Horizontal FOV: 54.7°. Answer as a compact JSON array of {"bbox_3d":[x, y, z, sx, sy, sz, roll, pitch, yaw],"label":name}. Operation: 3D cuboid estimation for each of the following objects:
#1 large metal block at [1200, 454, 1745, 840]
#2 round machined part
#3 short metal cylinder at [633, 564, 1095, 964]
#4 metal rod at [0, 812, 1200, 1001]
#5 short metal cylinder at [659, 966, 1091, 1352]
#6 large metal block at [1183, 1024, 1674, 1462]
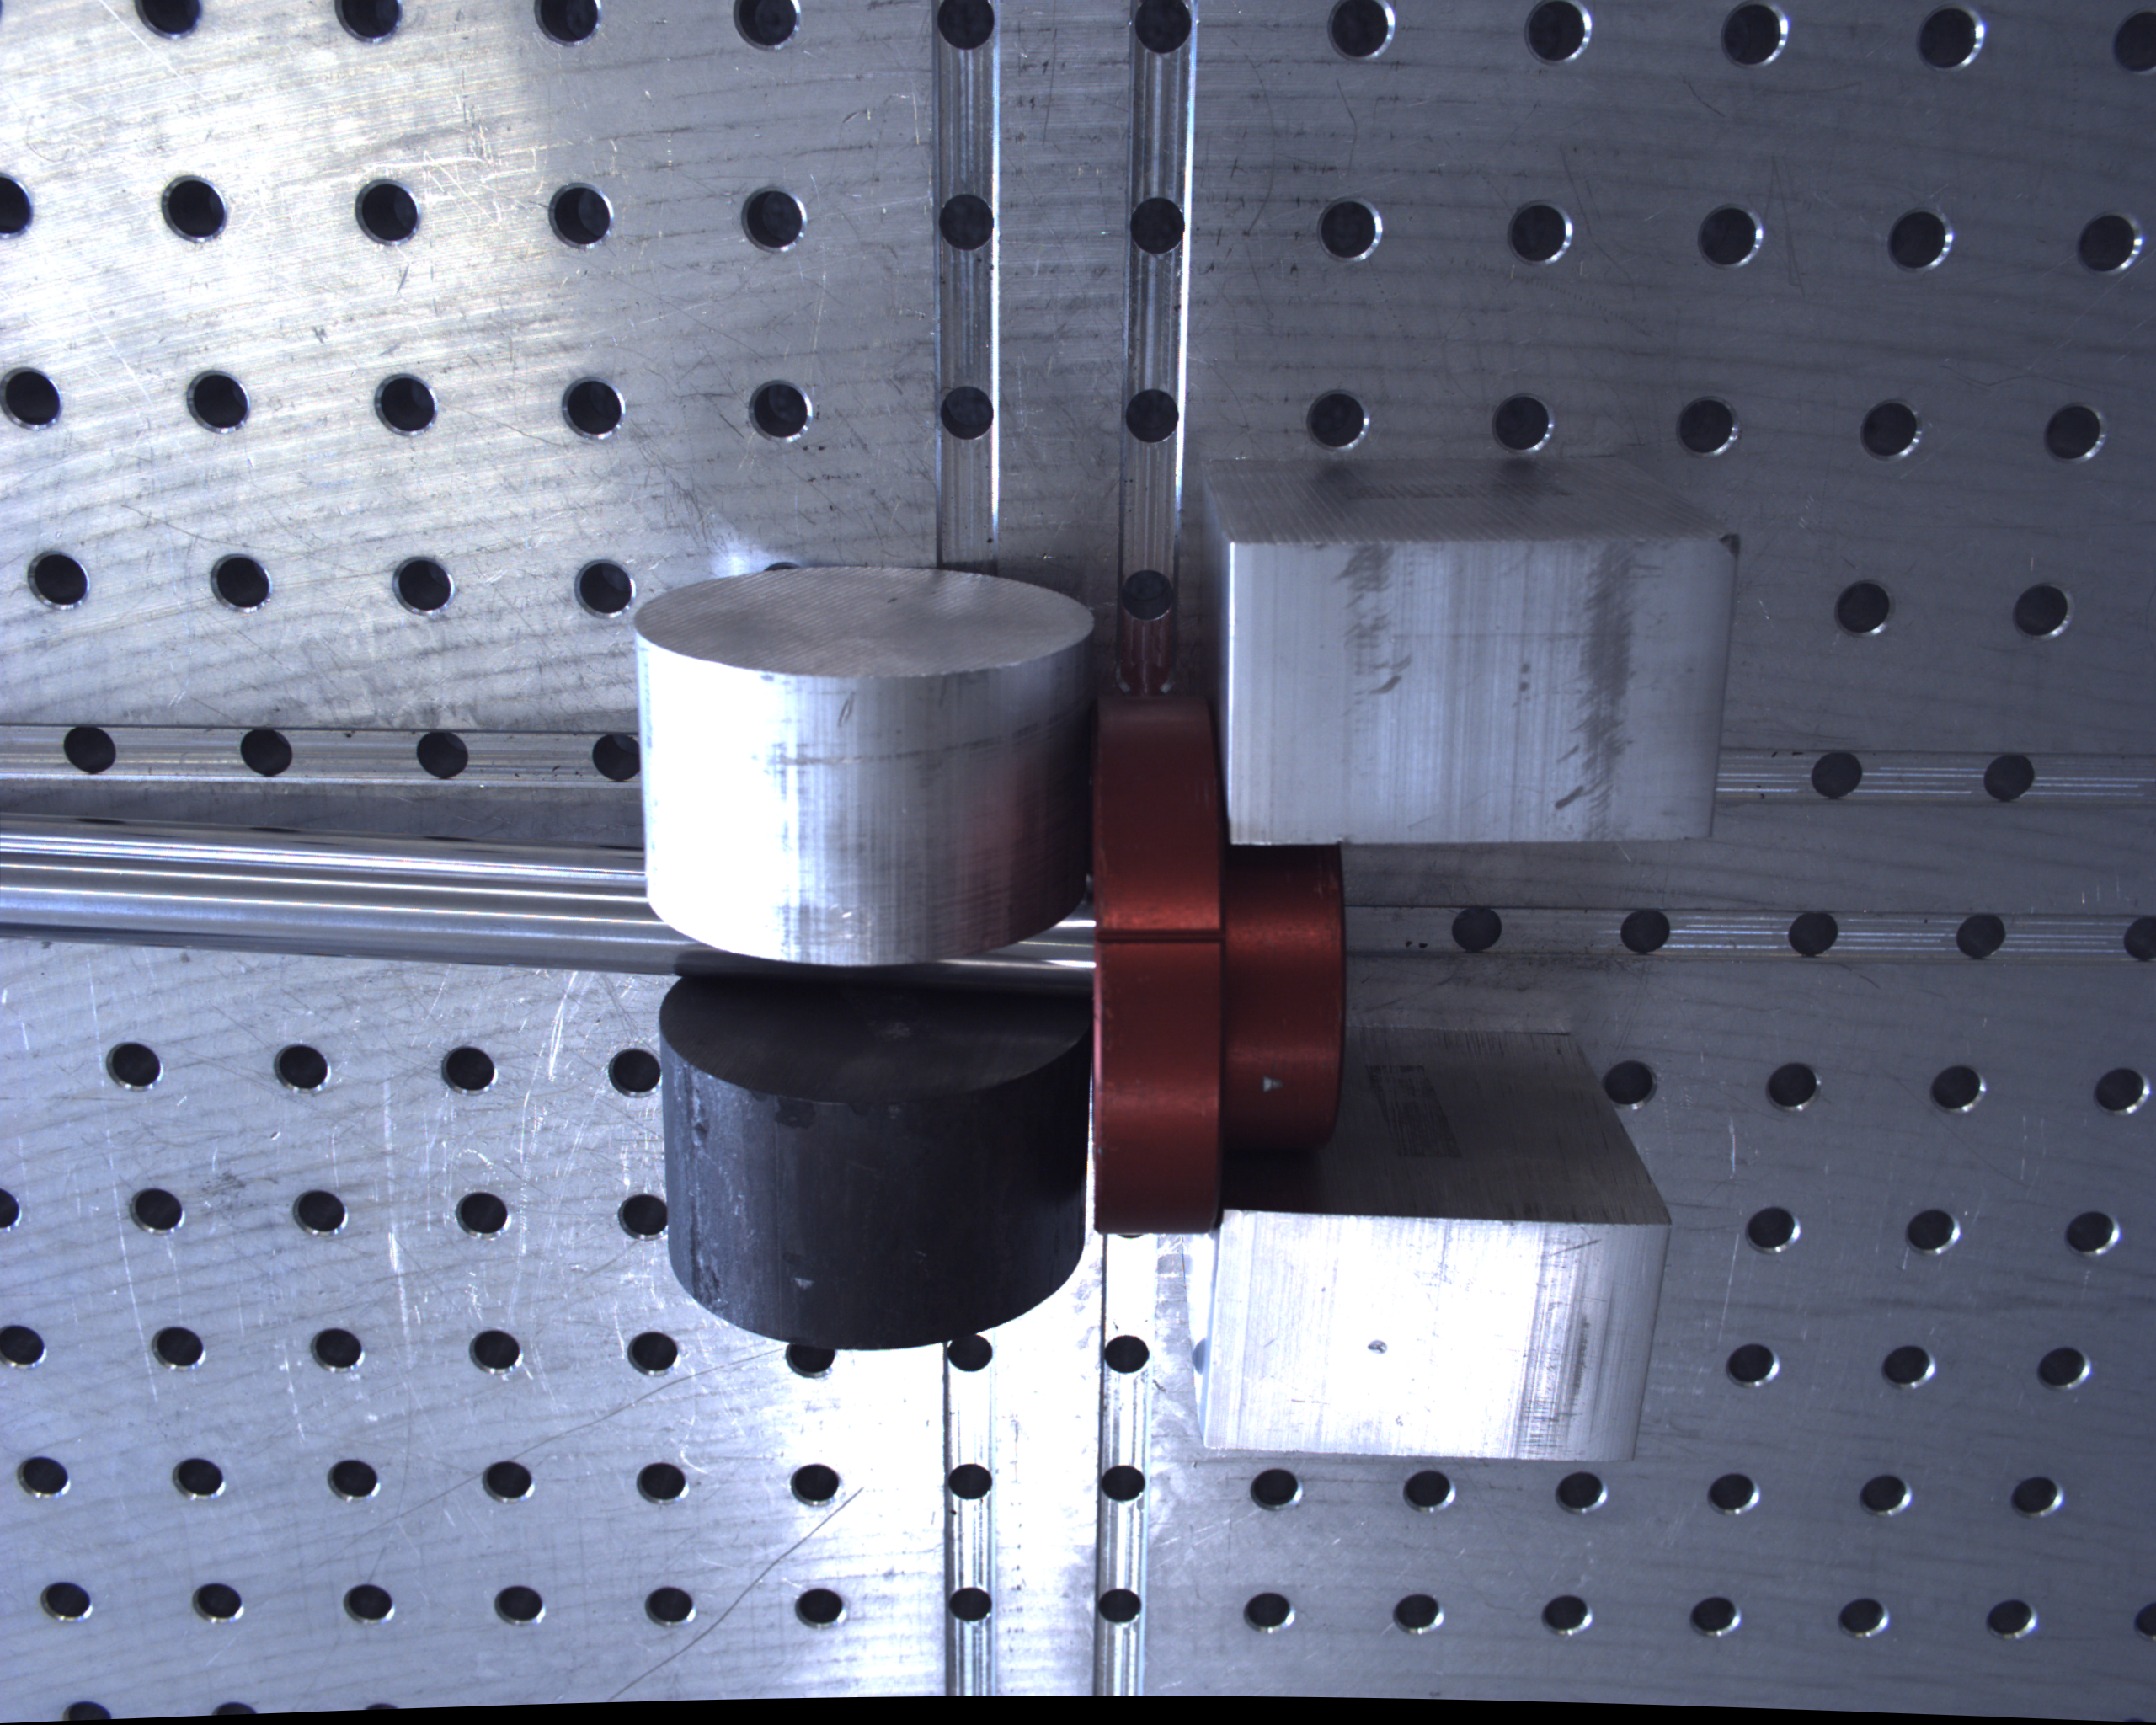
[{"bbox_3d":[0.064,-0.041,0.370,0.081,0.080,0.050,0,110,0],"label":"large metal block"},{"bbox_3d":[0.024,0.018,0.381,0.042,0.098,0.097,1,110,0],"label":"round machined part"},{"bbox_3d":[-0.038,-0.020,0.376,0.081,0.080,0.050,1,111,-1],"label":"short metal cylinder"},{"bbox_3d":[-0.121,0.007,0.402,0.302,0.025,0.025,3,110,3],"label":"metal rod"},{"bbox_3d":[-0.038,0.050,0.401,0.081,0.080,0.050,1,111,-1],"label":"short metal cylinder"},{"bbox_3d":[0.063,0.071,0.412,0.081,0.080,0.050,3,110,-1],"label":"large metal block"}]
